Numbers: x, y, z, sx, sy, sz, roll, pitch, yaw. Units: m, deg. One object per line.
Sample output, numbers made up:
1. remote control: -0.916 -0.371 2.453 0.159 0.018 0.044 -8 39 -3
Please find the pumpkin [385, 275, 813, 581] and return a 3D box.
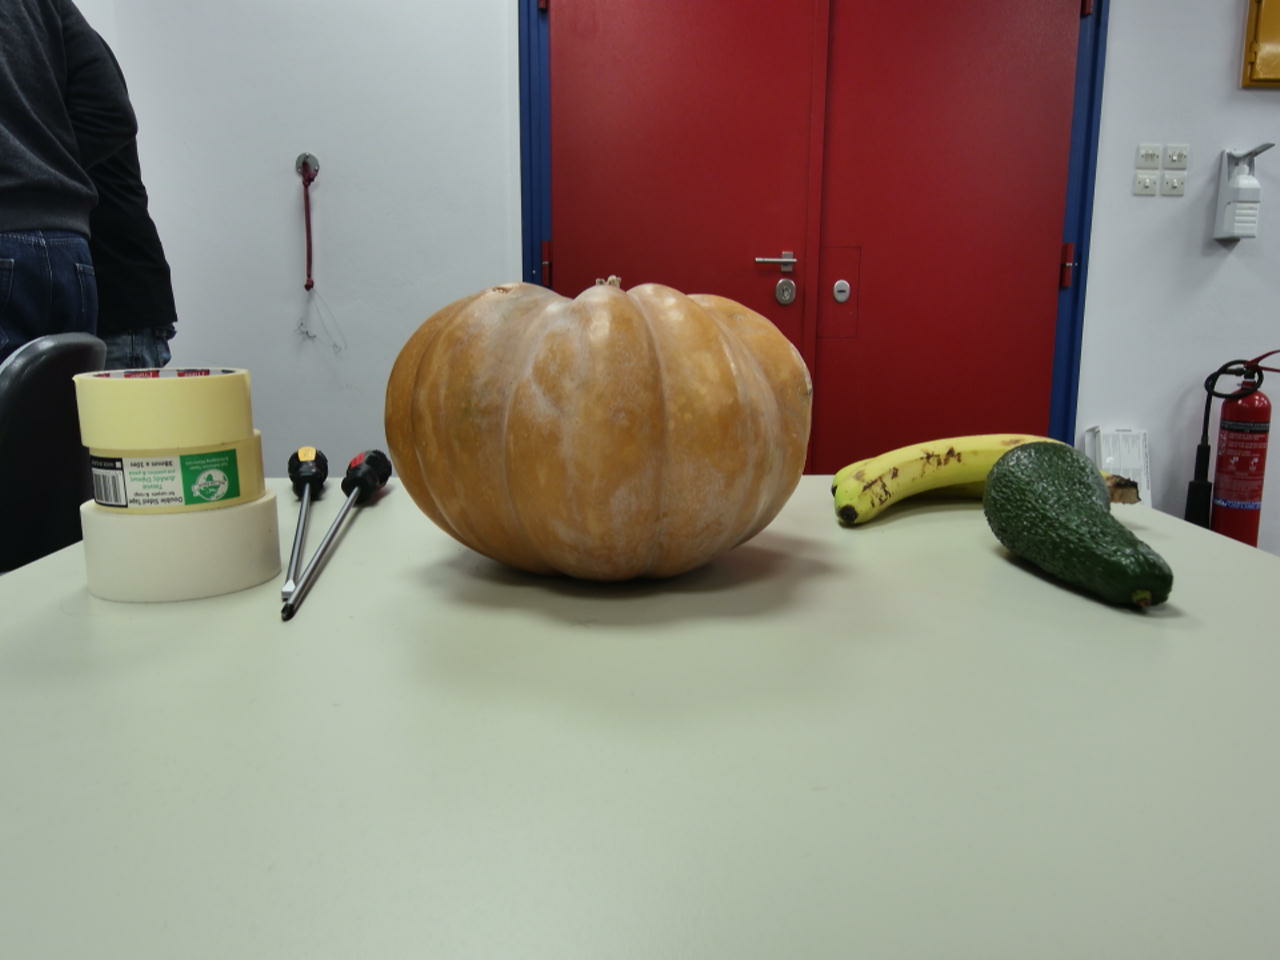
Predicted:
1. pumpkin: -0.023 -0.036 0.632 0.277 0.181 0.277 0 8 0
